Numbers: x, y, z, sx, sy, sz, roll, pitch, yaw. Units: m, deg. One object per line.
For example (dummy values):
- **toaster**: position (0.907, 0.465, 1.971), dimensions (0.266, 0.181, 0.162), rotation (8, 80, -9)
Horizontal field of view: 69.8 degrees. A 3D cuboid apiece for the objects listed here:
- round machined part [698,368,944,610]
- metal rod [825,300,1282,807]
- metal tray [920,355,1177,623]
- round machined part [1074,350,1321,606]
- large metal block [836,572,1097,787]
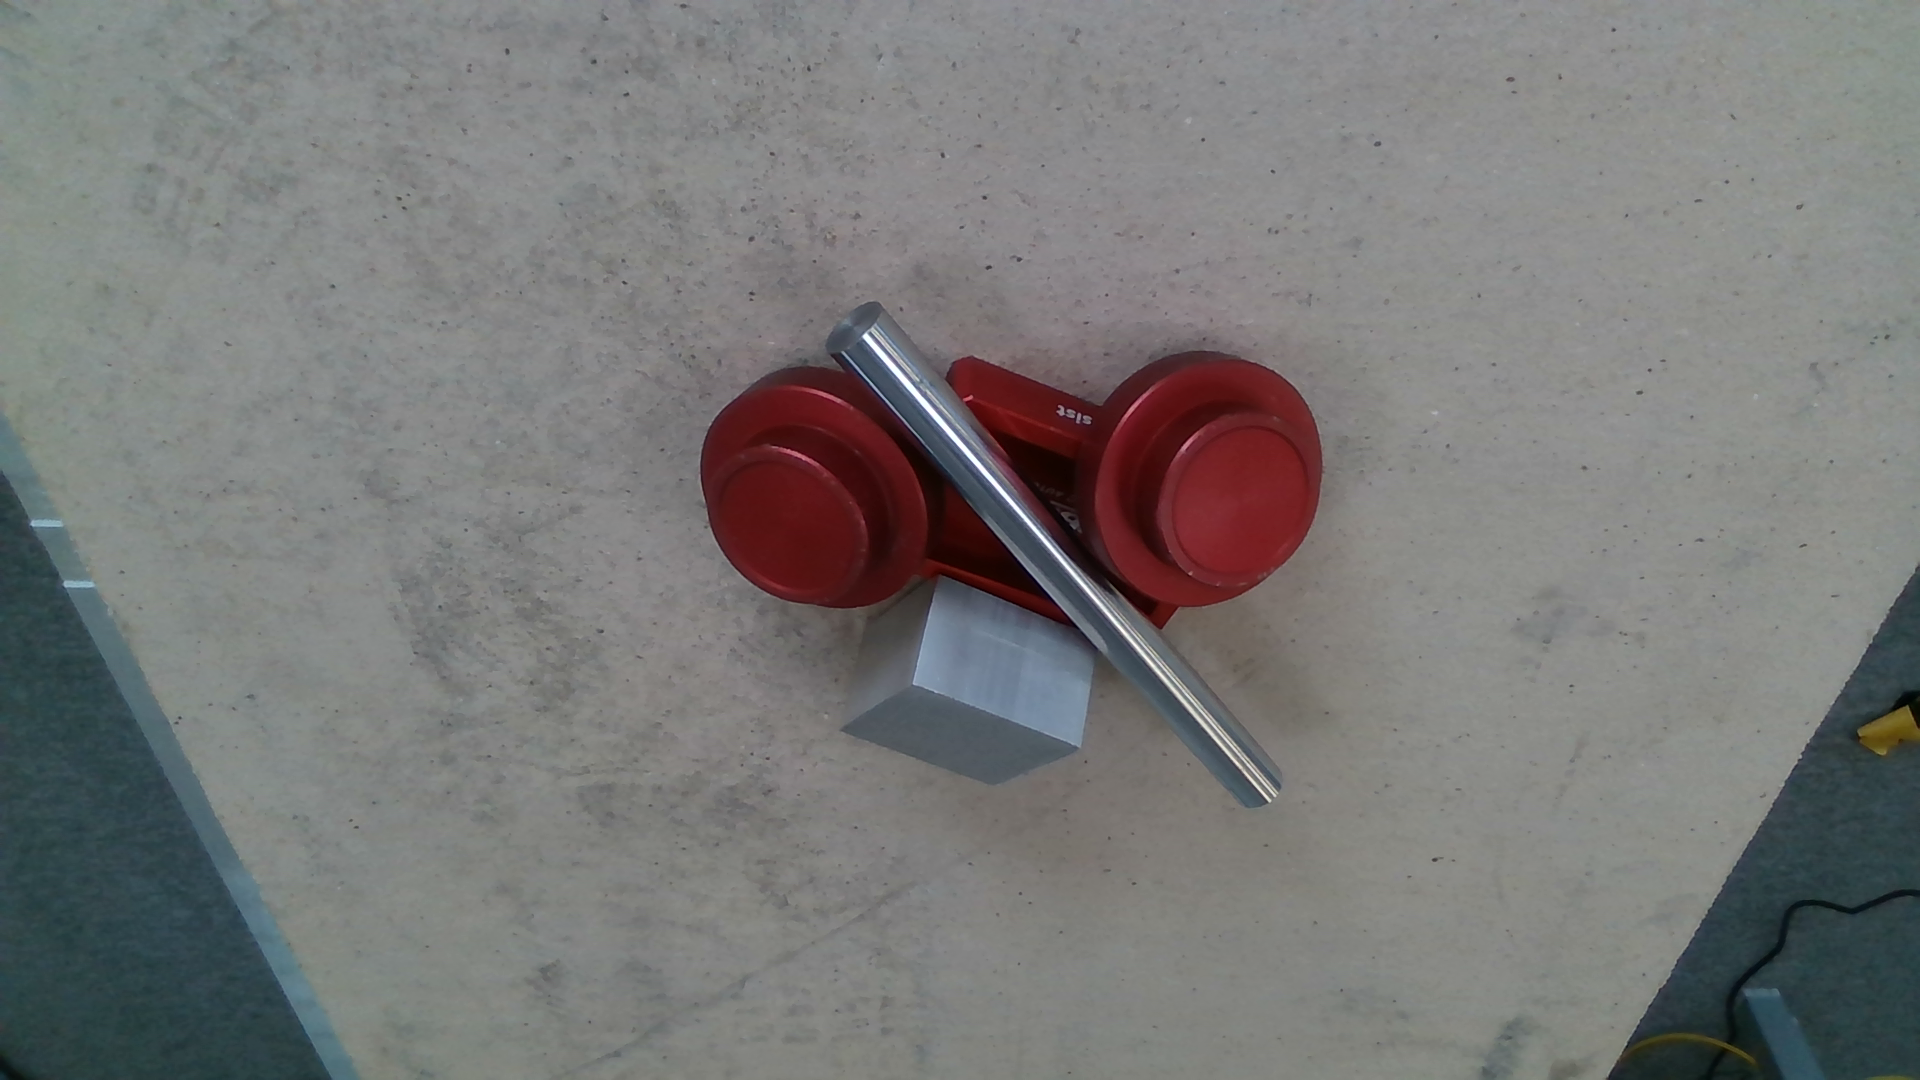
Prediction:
- **round machined part**: position (-0.059, -0.014, 0.535), dimensions (0.098, 0.042, 0.098), rotation (11, 124, 17)
- **metal rod**: position (0.050, 0.019, 0.558), dimensions (0.025, 0.025, 0.301), rotation (-29, 124, 22)
- **metal tray**: position (0.040, -0.012, 0.566), dimensions (0.130, 0.030, 0.090), rotation (19, 127, -15)
- **round machined part**: position (0.096, -0.021, 0.525), dimensions (0.098, 0.042, 0.098), rotation (-6, 109, -18)
- **large metal block**: position (0.003, 0.063, 0.598), dimensions (0.080, 0.050, 0.080), rotation (23, 151, -19)
